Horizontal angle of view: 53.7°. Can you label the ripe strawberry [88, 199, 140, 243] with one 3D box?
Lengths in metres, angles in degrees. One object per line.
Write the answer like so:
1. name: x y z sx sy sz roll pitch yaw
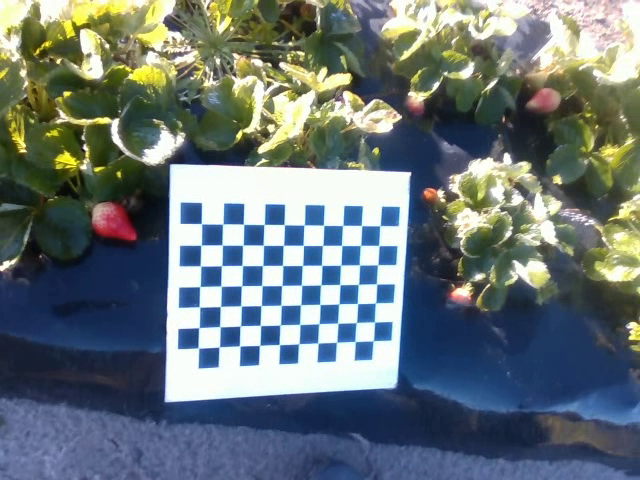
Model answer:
1. ripe strawberry: -0.245 -0.016 0.740 0.065 0.040 0.040 43 -8 -15
